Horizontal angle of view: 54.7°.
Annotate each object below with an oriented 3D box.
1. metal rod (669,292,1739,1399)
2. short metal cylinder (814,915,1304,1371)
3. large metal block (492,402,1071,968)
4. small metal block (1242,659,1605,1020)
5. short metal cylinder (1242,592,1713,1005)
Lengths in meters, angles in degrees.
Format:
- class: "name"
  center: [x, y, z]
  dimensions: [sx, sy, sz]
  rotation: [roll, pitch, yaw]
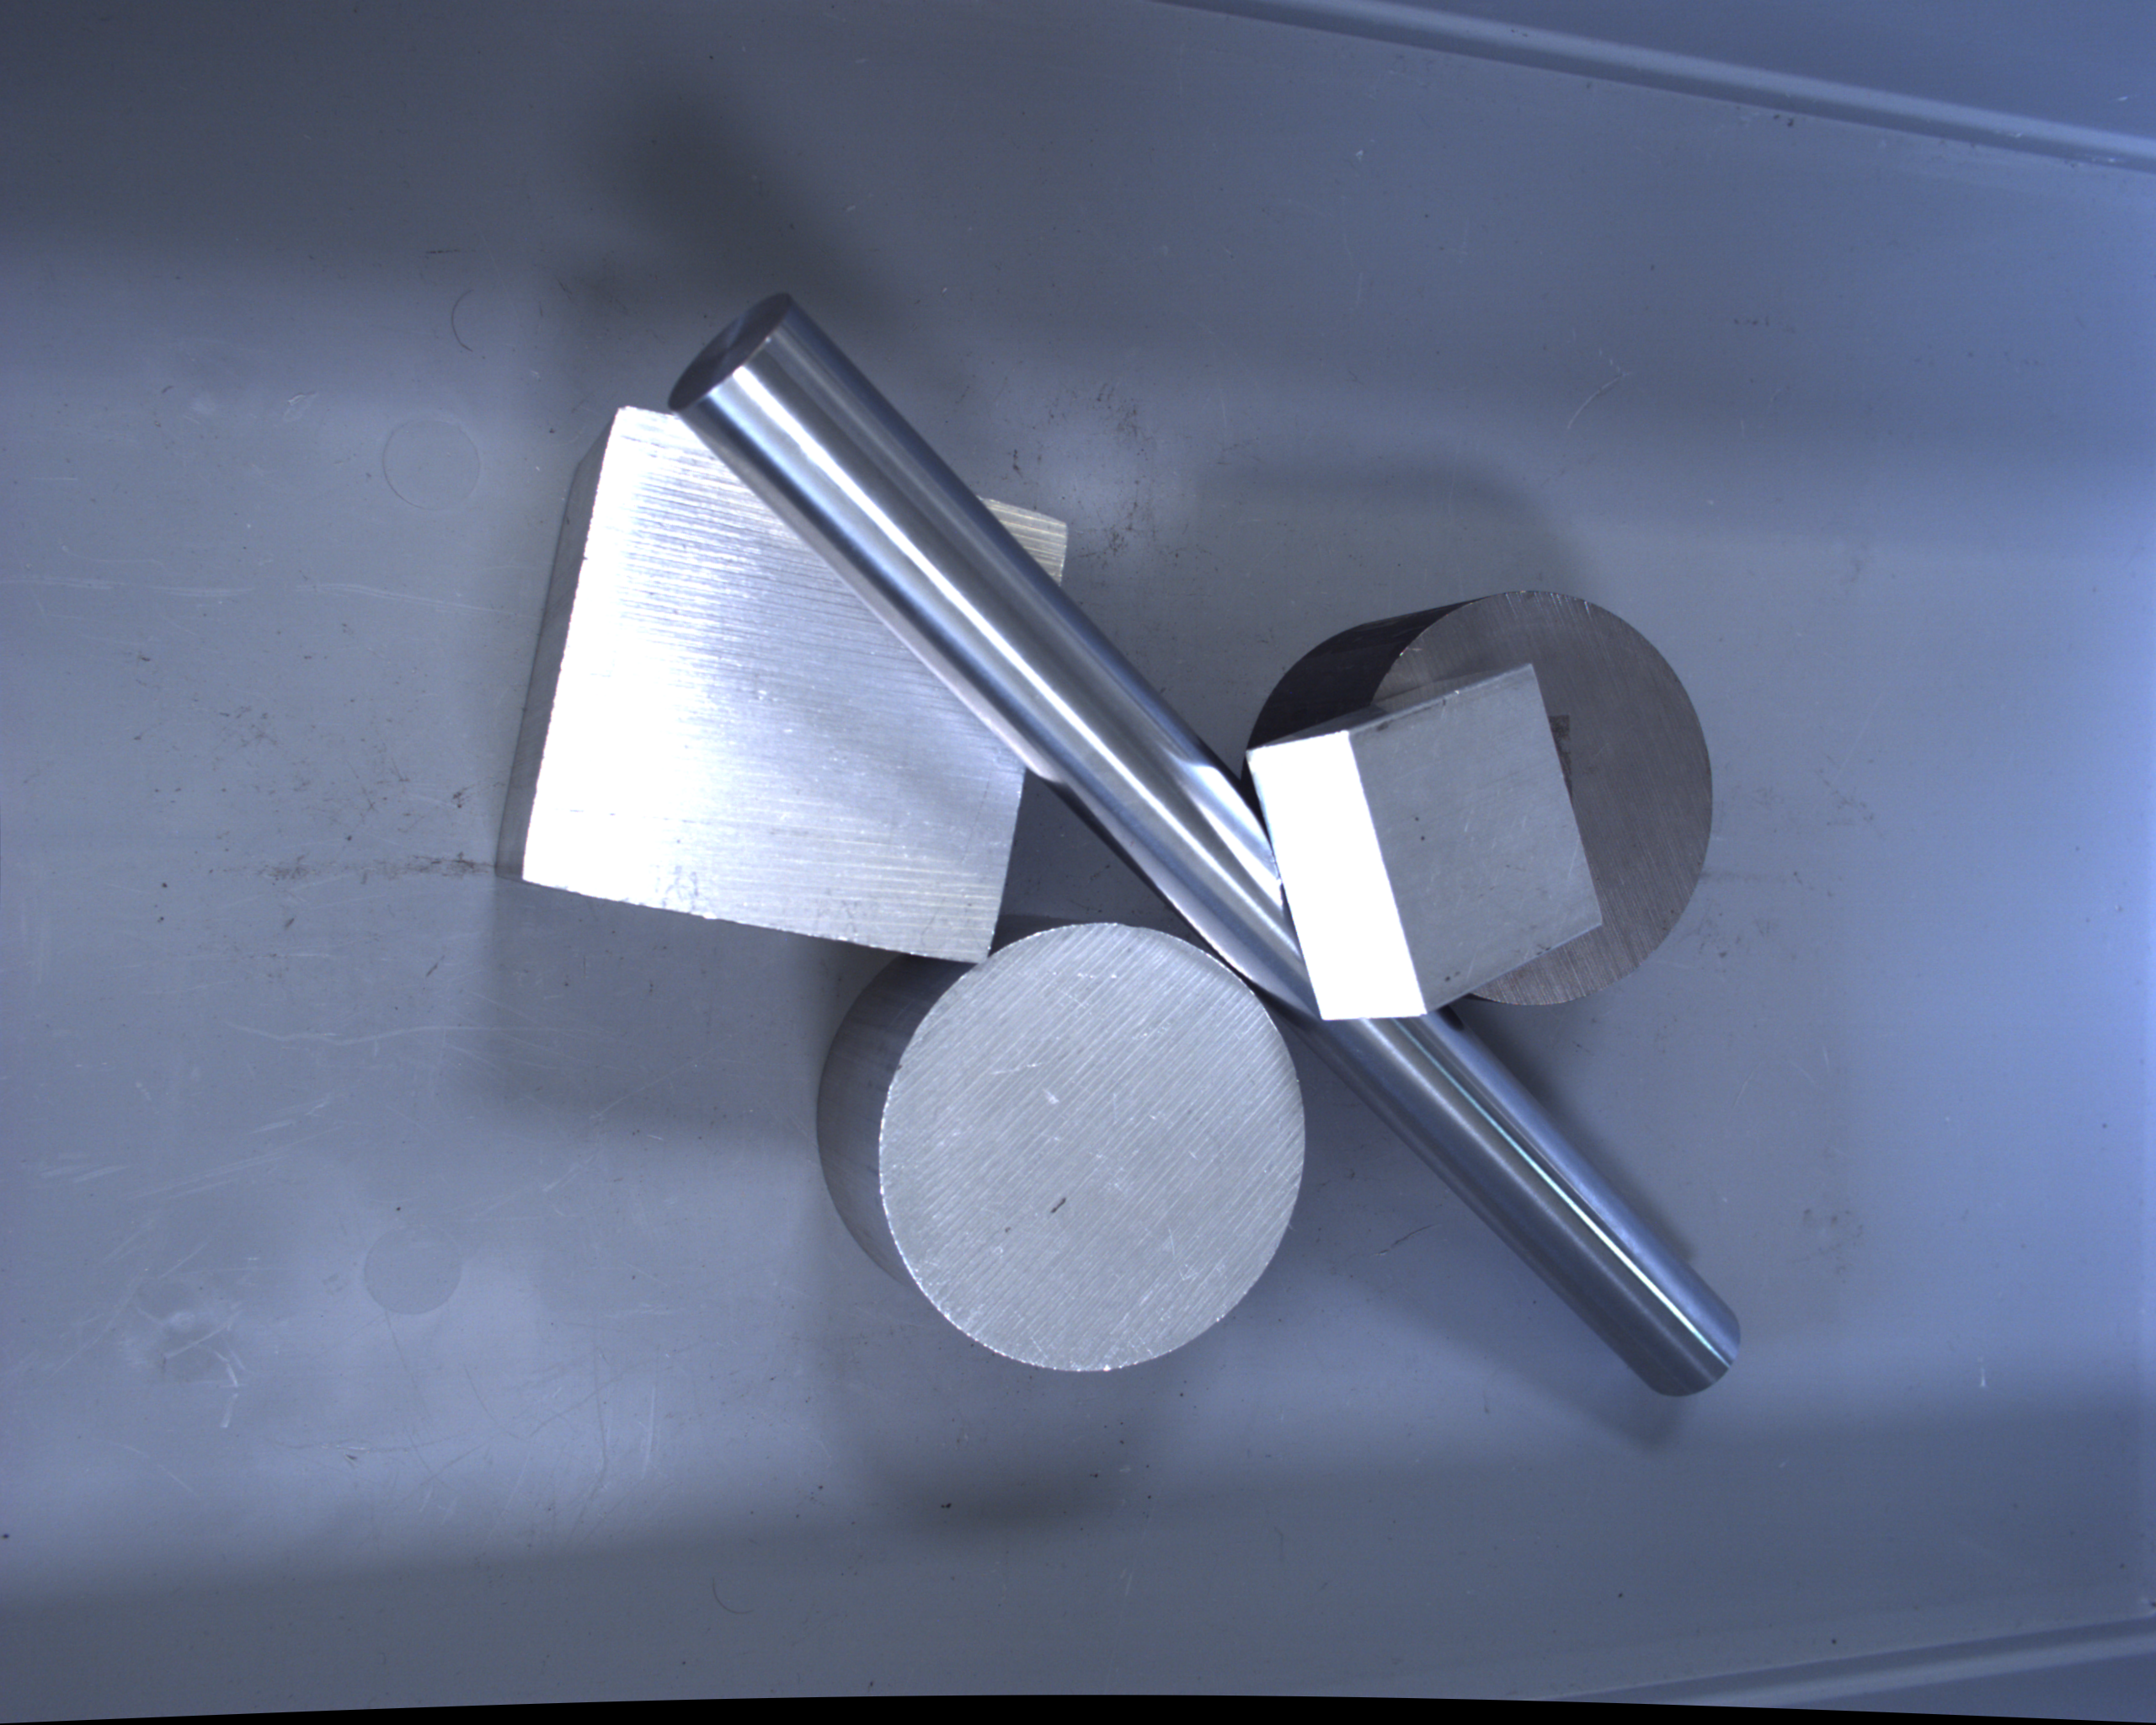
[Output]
- class: "metal rod"
  center: [0.041, 0.015, 0.387]
  dimensions: [0.300, 0.025, 0.025]
  rotation: [45, 76, -29]
- class: "short metal cylinder"
  center: [-0.005, 0.050, 0.394]
  dimensions: [0.081, 0.050, 0.079]
  rotation: [0, 90, -20]
- class: "large metal block"
  center: [-0.054, -0.028, 0.374]
  dimensions: [0.081, 0.050, 0.080]
  rotation: [12, 86, -20]
- class: "small metal block"
  center: [0.062, -0.004, 0.371]
  dimensions: [0.050, 0.025, 0.050]
  rotation: [-22, 98, -37]
- class: "short metal cylinder"
  center: [0.080, -0.013, 0.425]
  dimensions: [0.081, 0.050, 0.079]
  rotation: [0, 90, -20]
